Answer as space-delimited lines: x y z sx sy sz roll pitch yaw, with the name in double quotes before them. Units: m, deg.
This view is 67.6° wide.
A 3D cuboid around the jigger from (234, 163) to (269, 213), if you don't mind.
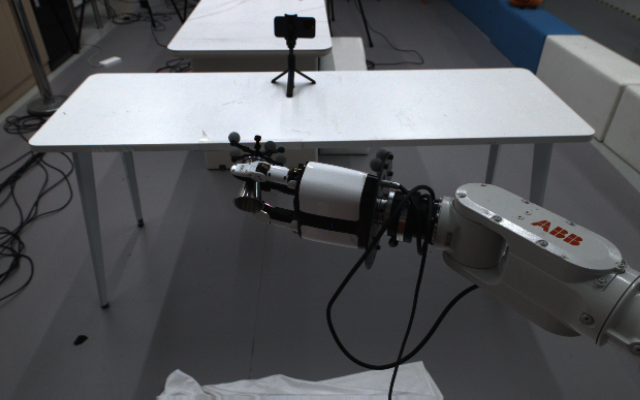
"jigger" -0.097 -0.025 0.685 0.043 0.043 0.071 4 60 2
